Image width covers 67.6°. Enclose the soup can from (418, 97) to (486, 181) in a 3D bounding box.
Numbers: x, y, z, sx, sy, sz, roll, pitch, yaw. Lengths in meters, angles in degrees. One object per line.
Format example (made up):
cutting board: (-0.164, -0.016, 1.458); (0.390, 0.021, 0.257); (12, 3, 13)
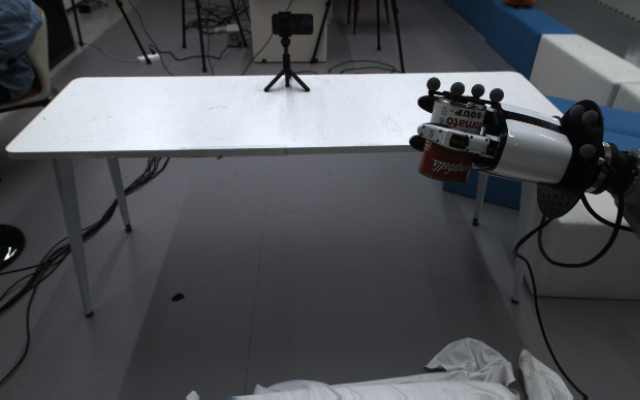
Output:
soup can: (0.176, -0.081, 0.643); (0.067, 0.101, 0.067); (9, 19, -3)
